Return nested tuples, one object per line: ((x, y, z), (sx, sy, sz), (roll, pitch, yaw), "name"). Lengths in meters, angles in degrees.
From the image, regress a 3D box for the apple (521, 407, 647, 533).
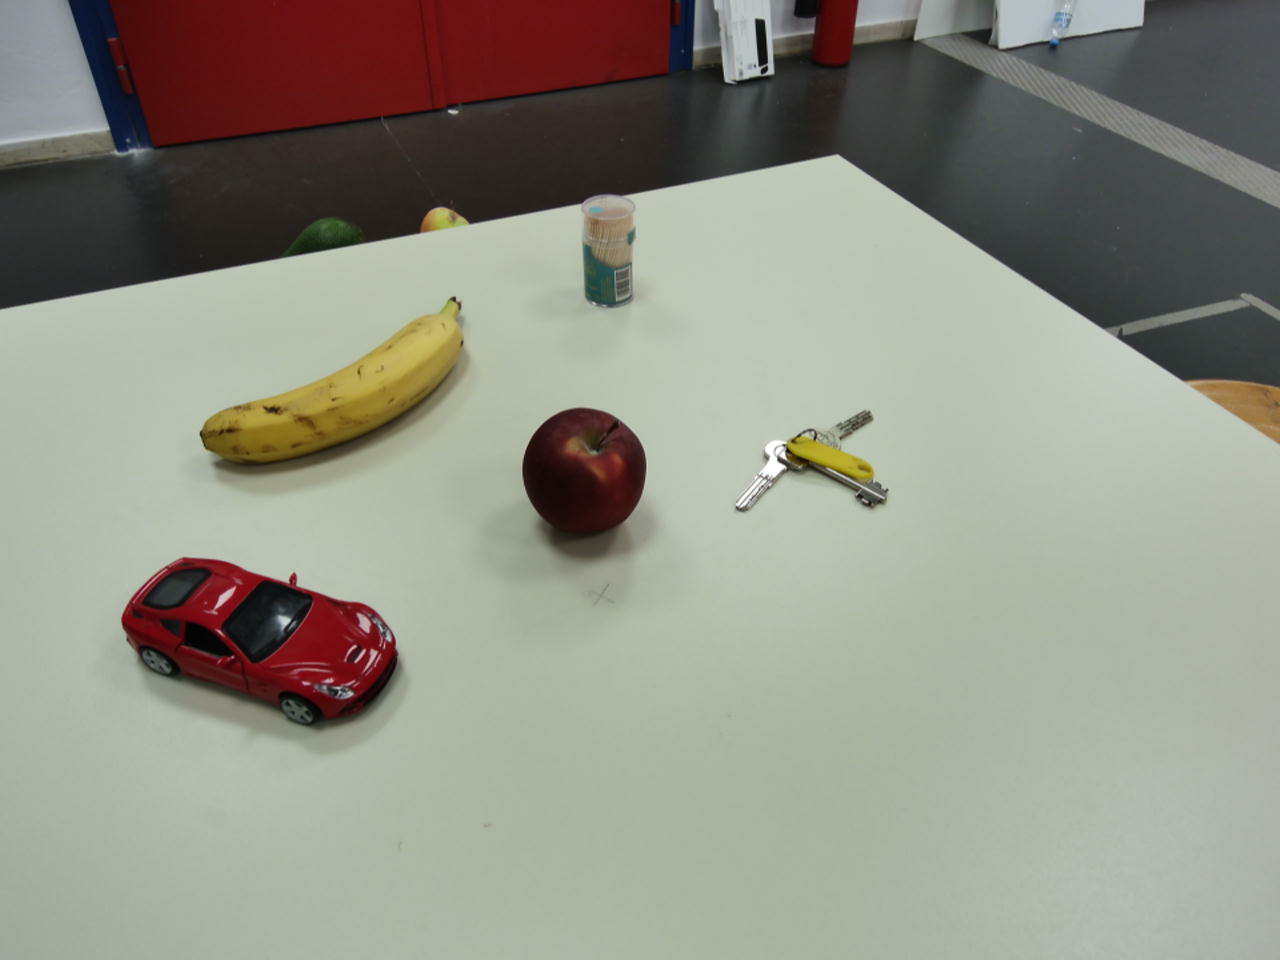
((-0.031, -0.004, 0.557), (0.070, 0.072, 0.070), (1, 39, -1), "apple")
